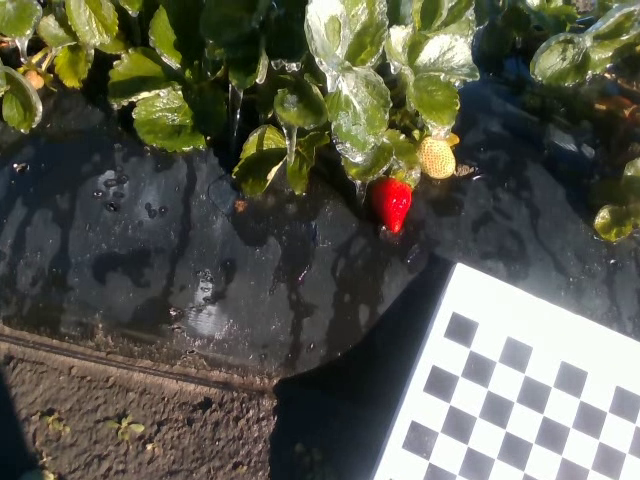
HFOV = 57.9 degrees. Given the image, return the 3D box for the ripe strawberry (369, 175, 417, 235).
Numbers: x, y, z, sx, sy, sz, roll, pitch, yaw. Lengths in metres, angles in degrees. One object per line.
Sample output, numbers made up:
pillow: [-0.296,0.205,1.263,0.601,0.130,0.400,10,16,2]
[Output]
ripe strawberry: [0.067,-0.031,0.502,0.042,0.052,0.040,8,-21,-2]
